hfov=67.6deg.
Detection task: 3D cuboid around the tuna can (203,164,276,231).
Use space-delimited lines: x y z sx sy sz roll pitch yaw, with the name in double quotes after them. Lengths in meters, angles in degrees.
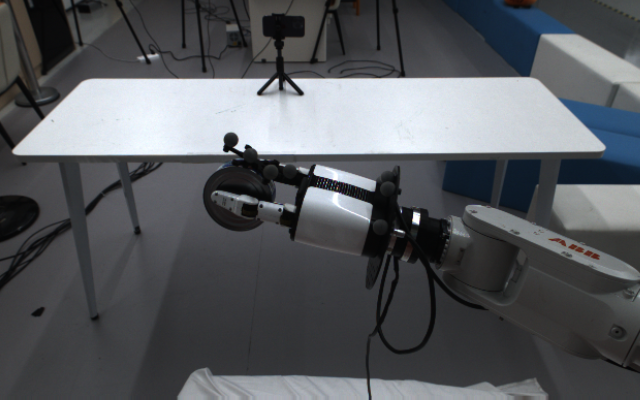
-0.098 -0.006 0.605 0.085 0.085 0.034 4 20 3 "tuna can"
